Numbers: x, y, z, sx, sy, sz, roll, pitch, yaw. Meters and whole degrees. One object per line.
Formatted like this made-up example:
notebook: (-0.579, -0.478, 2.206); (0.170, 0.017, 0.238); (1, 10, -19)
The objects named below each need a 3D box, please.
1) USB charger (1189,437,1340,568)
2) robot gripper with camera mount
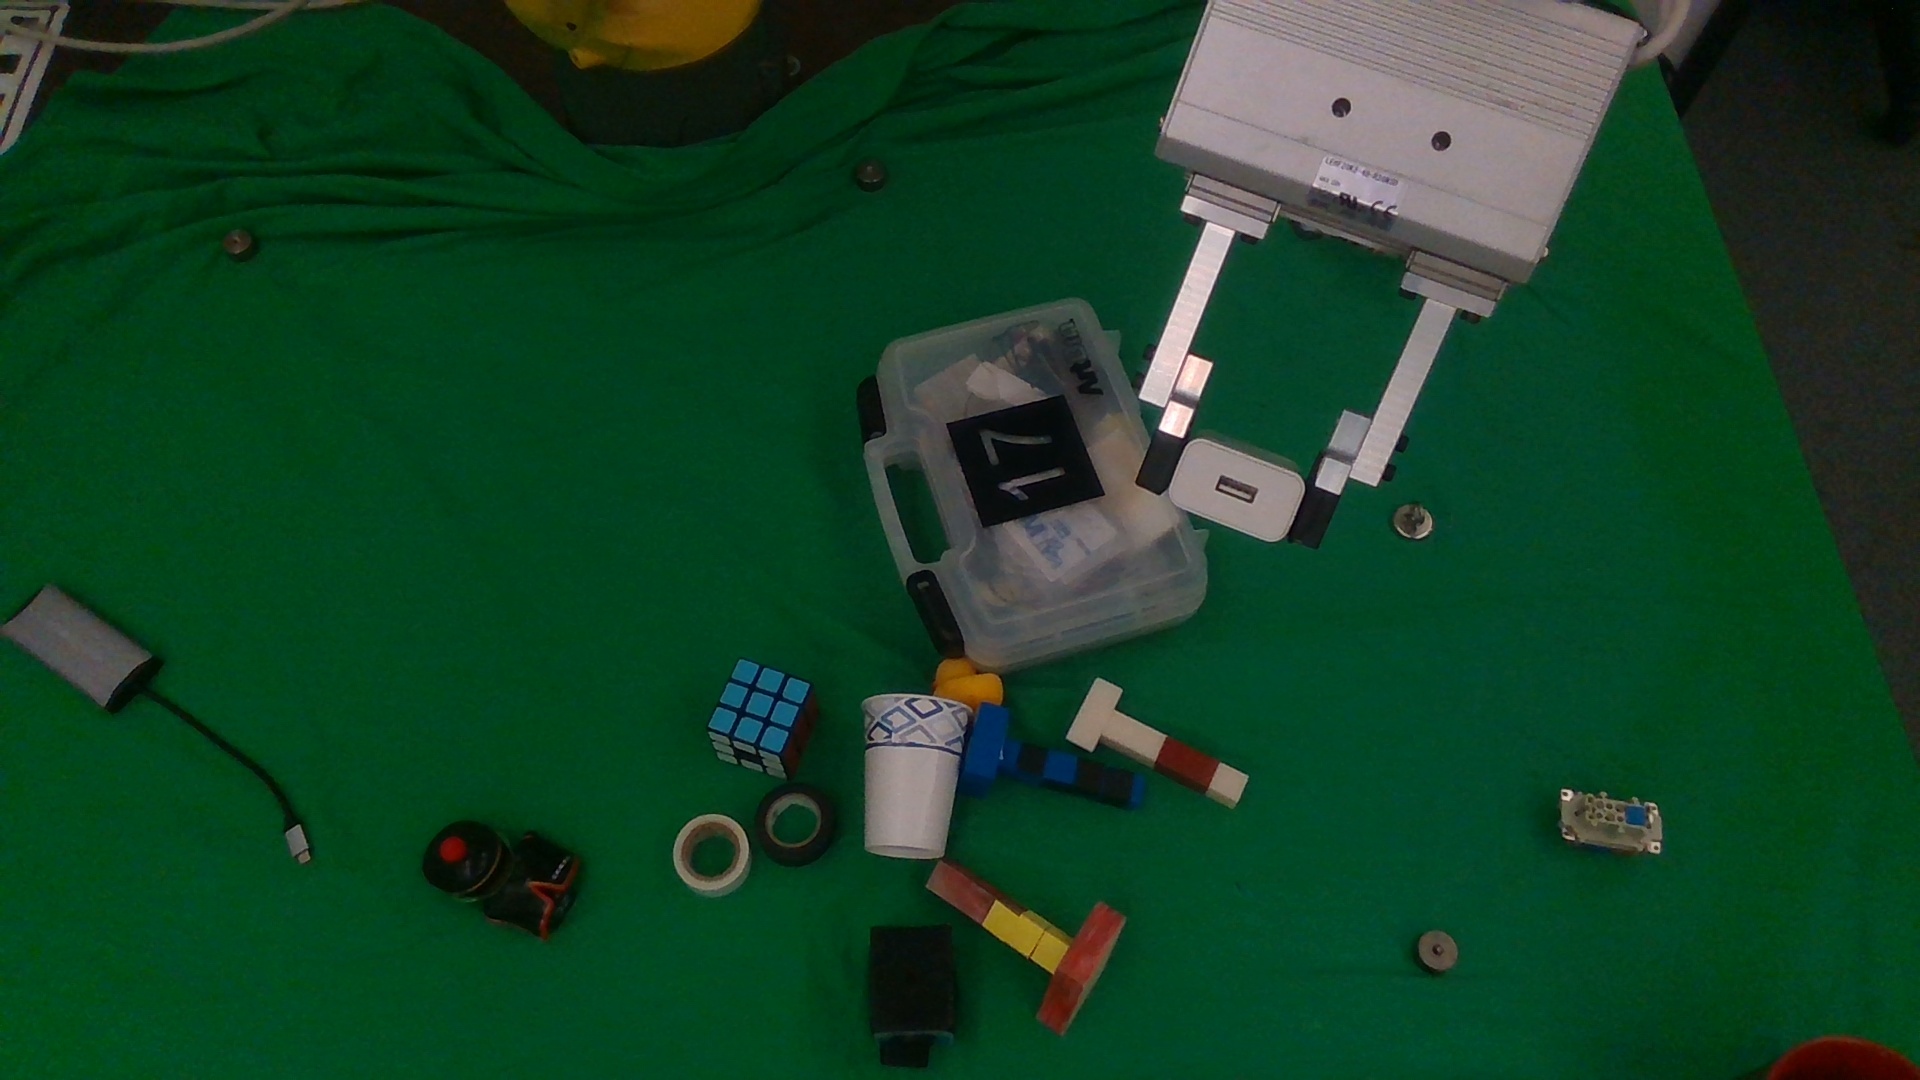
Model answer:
USB charger: (0.104, -0.018, 0.488); (0.045, 0.029, 0.075); (9, 22, -2)
robot gripper with camera mount: (0.138, -0.100, 0.519); (0.119, 0.193, 0.158); (18, 108, 10)
